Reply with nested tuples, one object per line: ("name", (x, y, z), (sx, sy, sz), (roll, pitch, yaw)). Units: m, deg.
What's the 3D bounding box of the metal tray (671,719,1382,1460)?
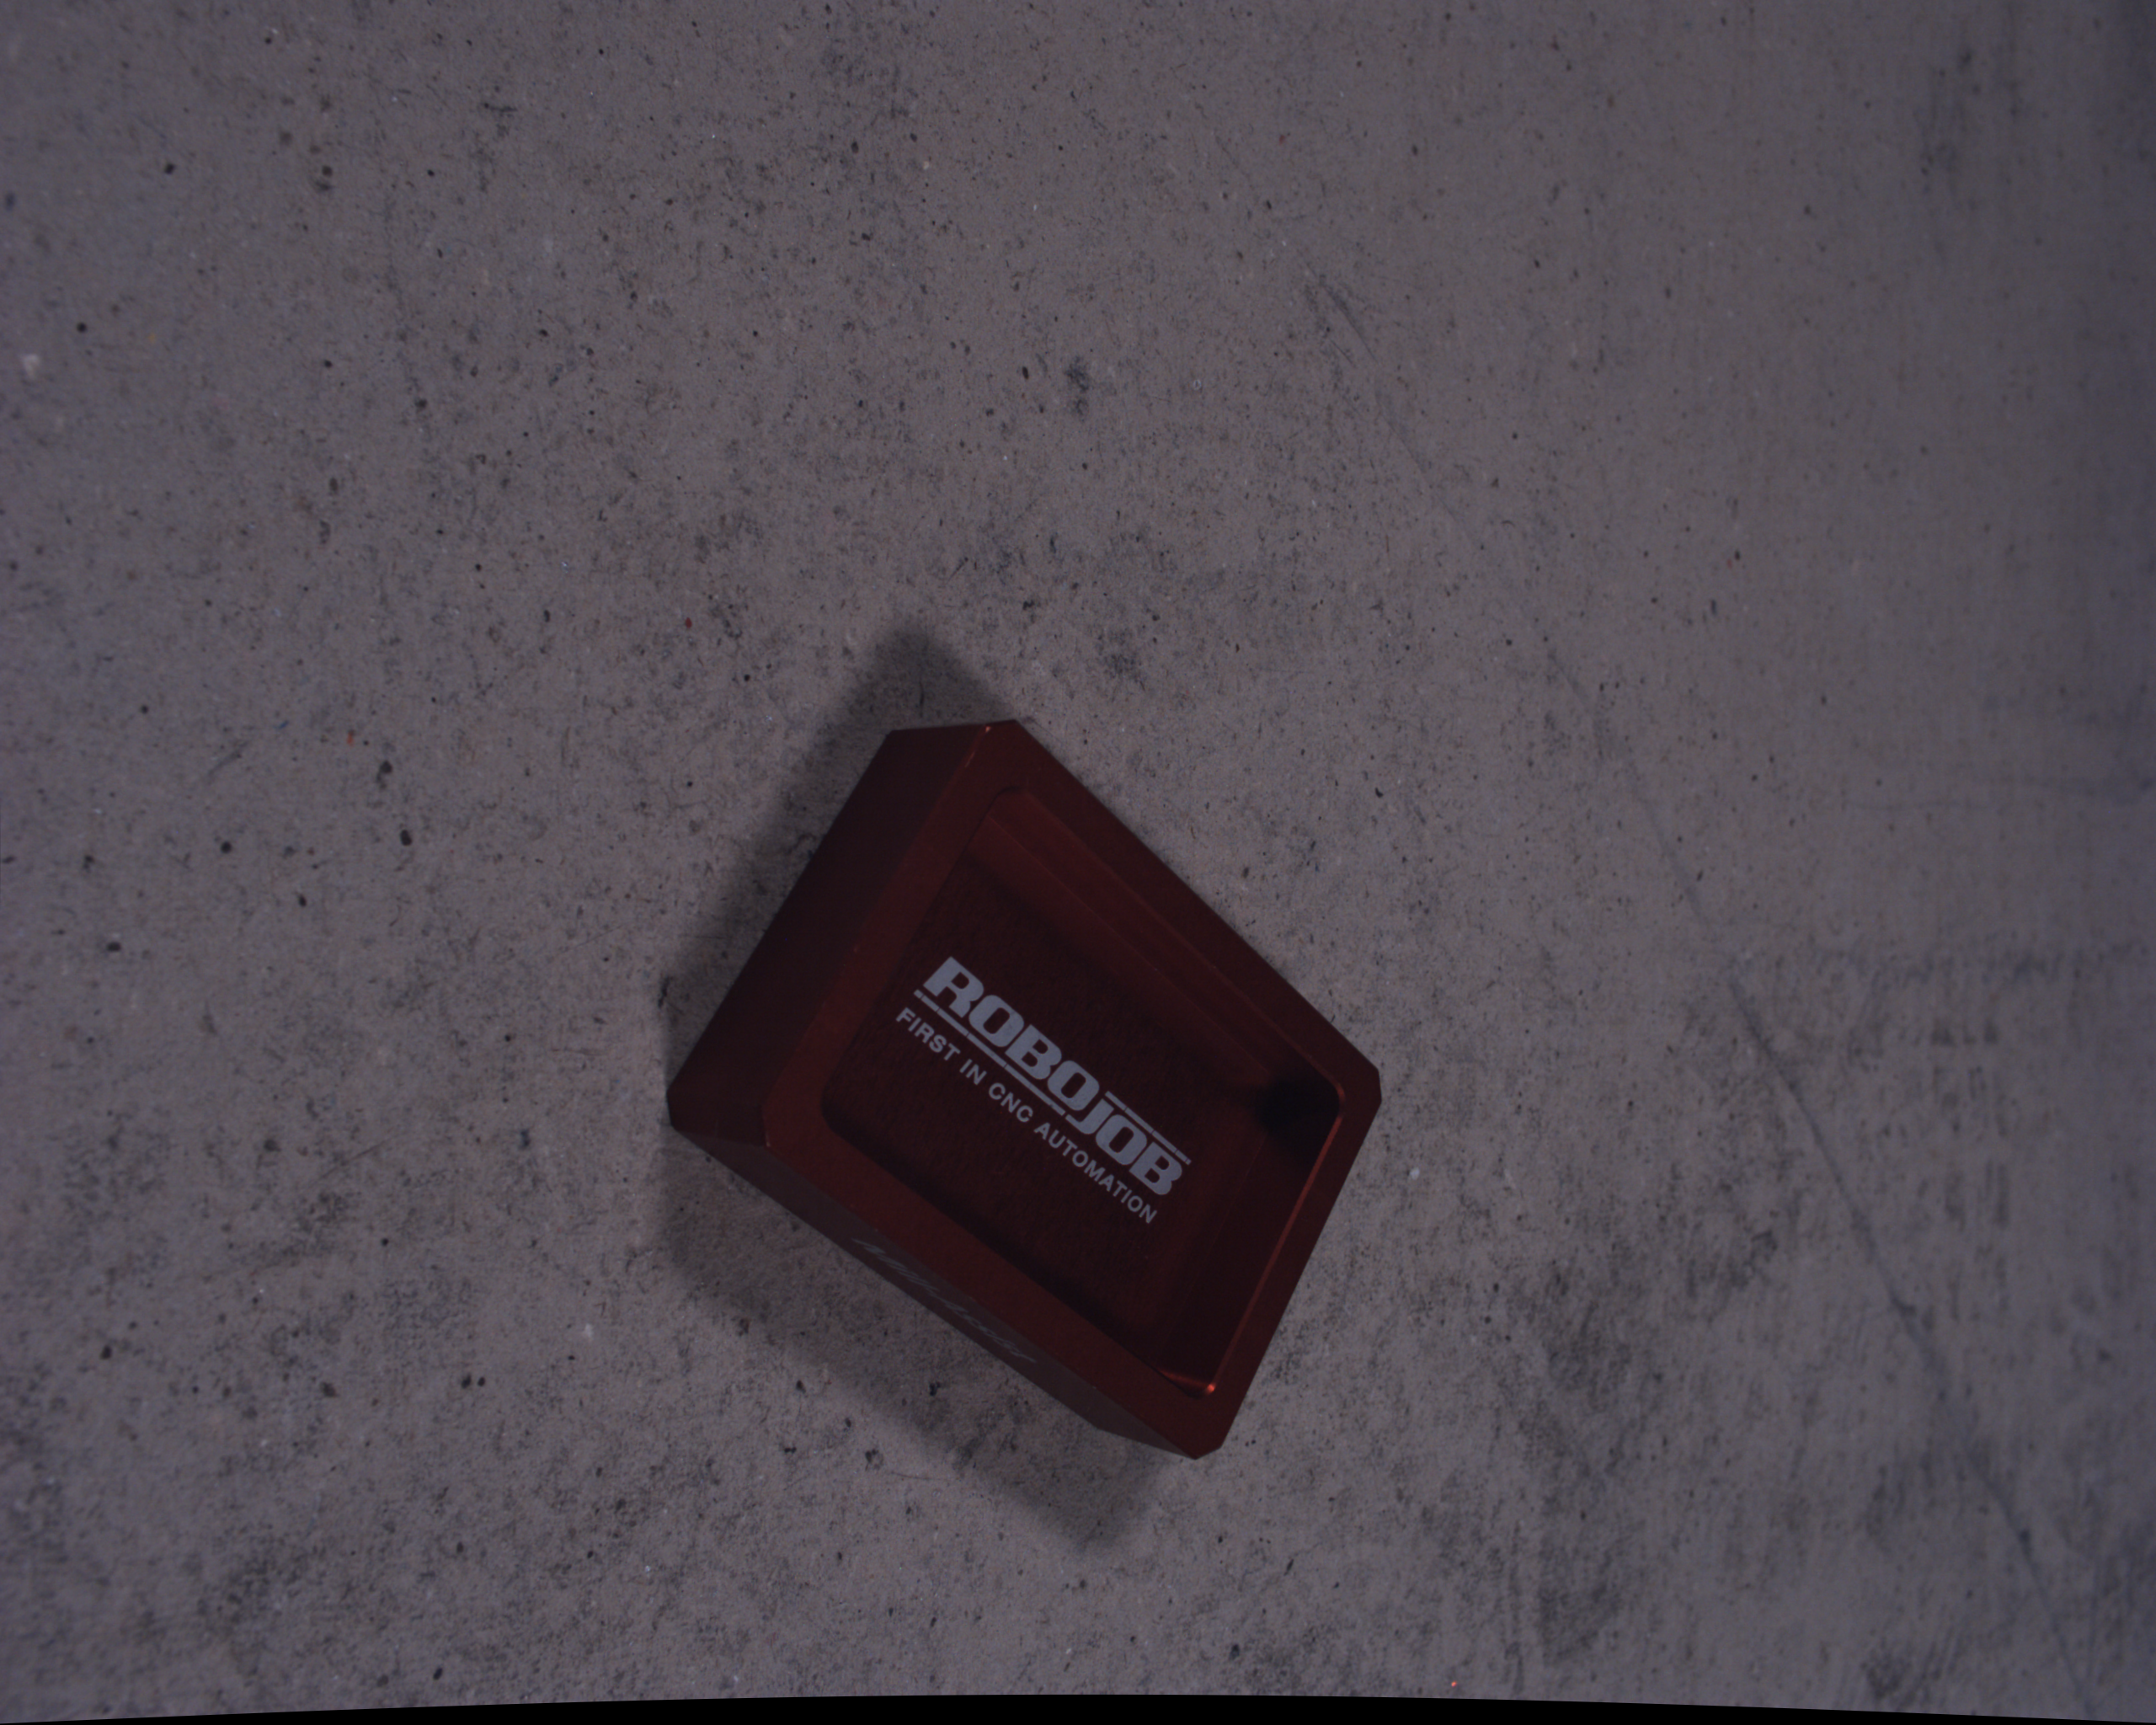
("metal tray", (-0.003, 0.045, 0.402), (0.130, 0.030, 0.090), (43, 64, -32))
